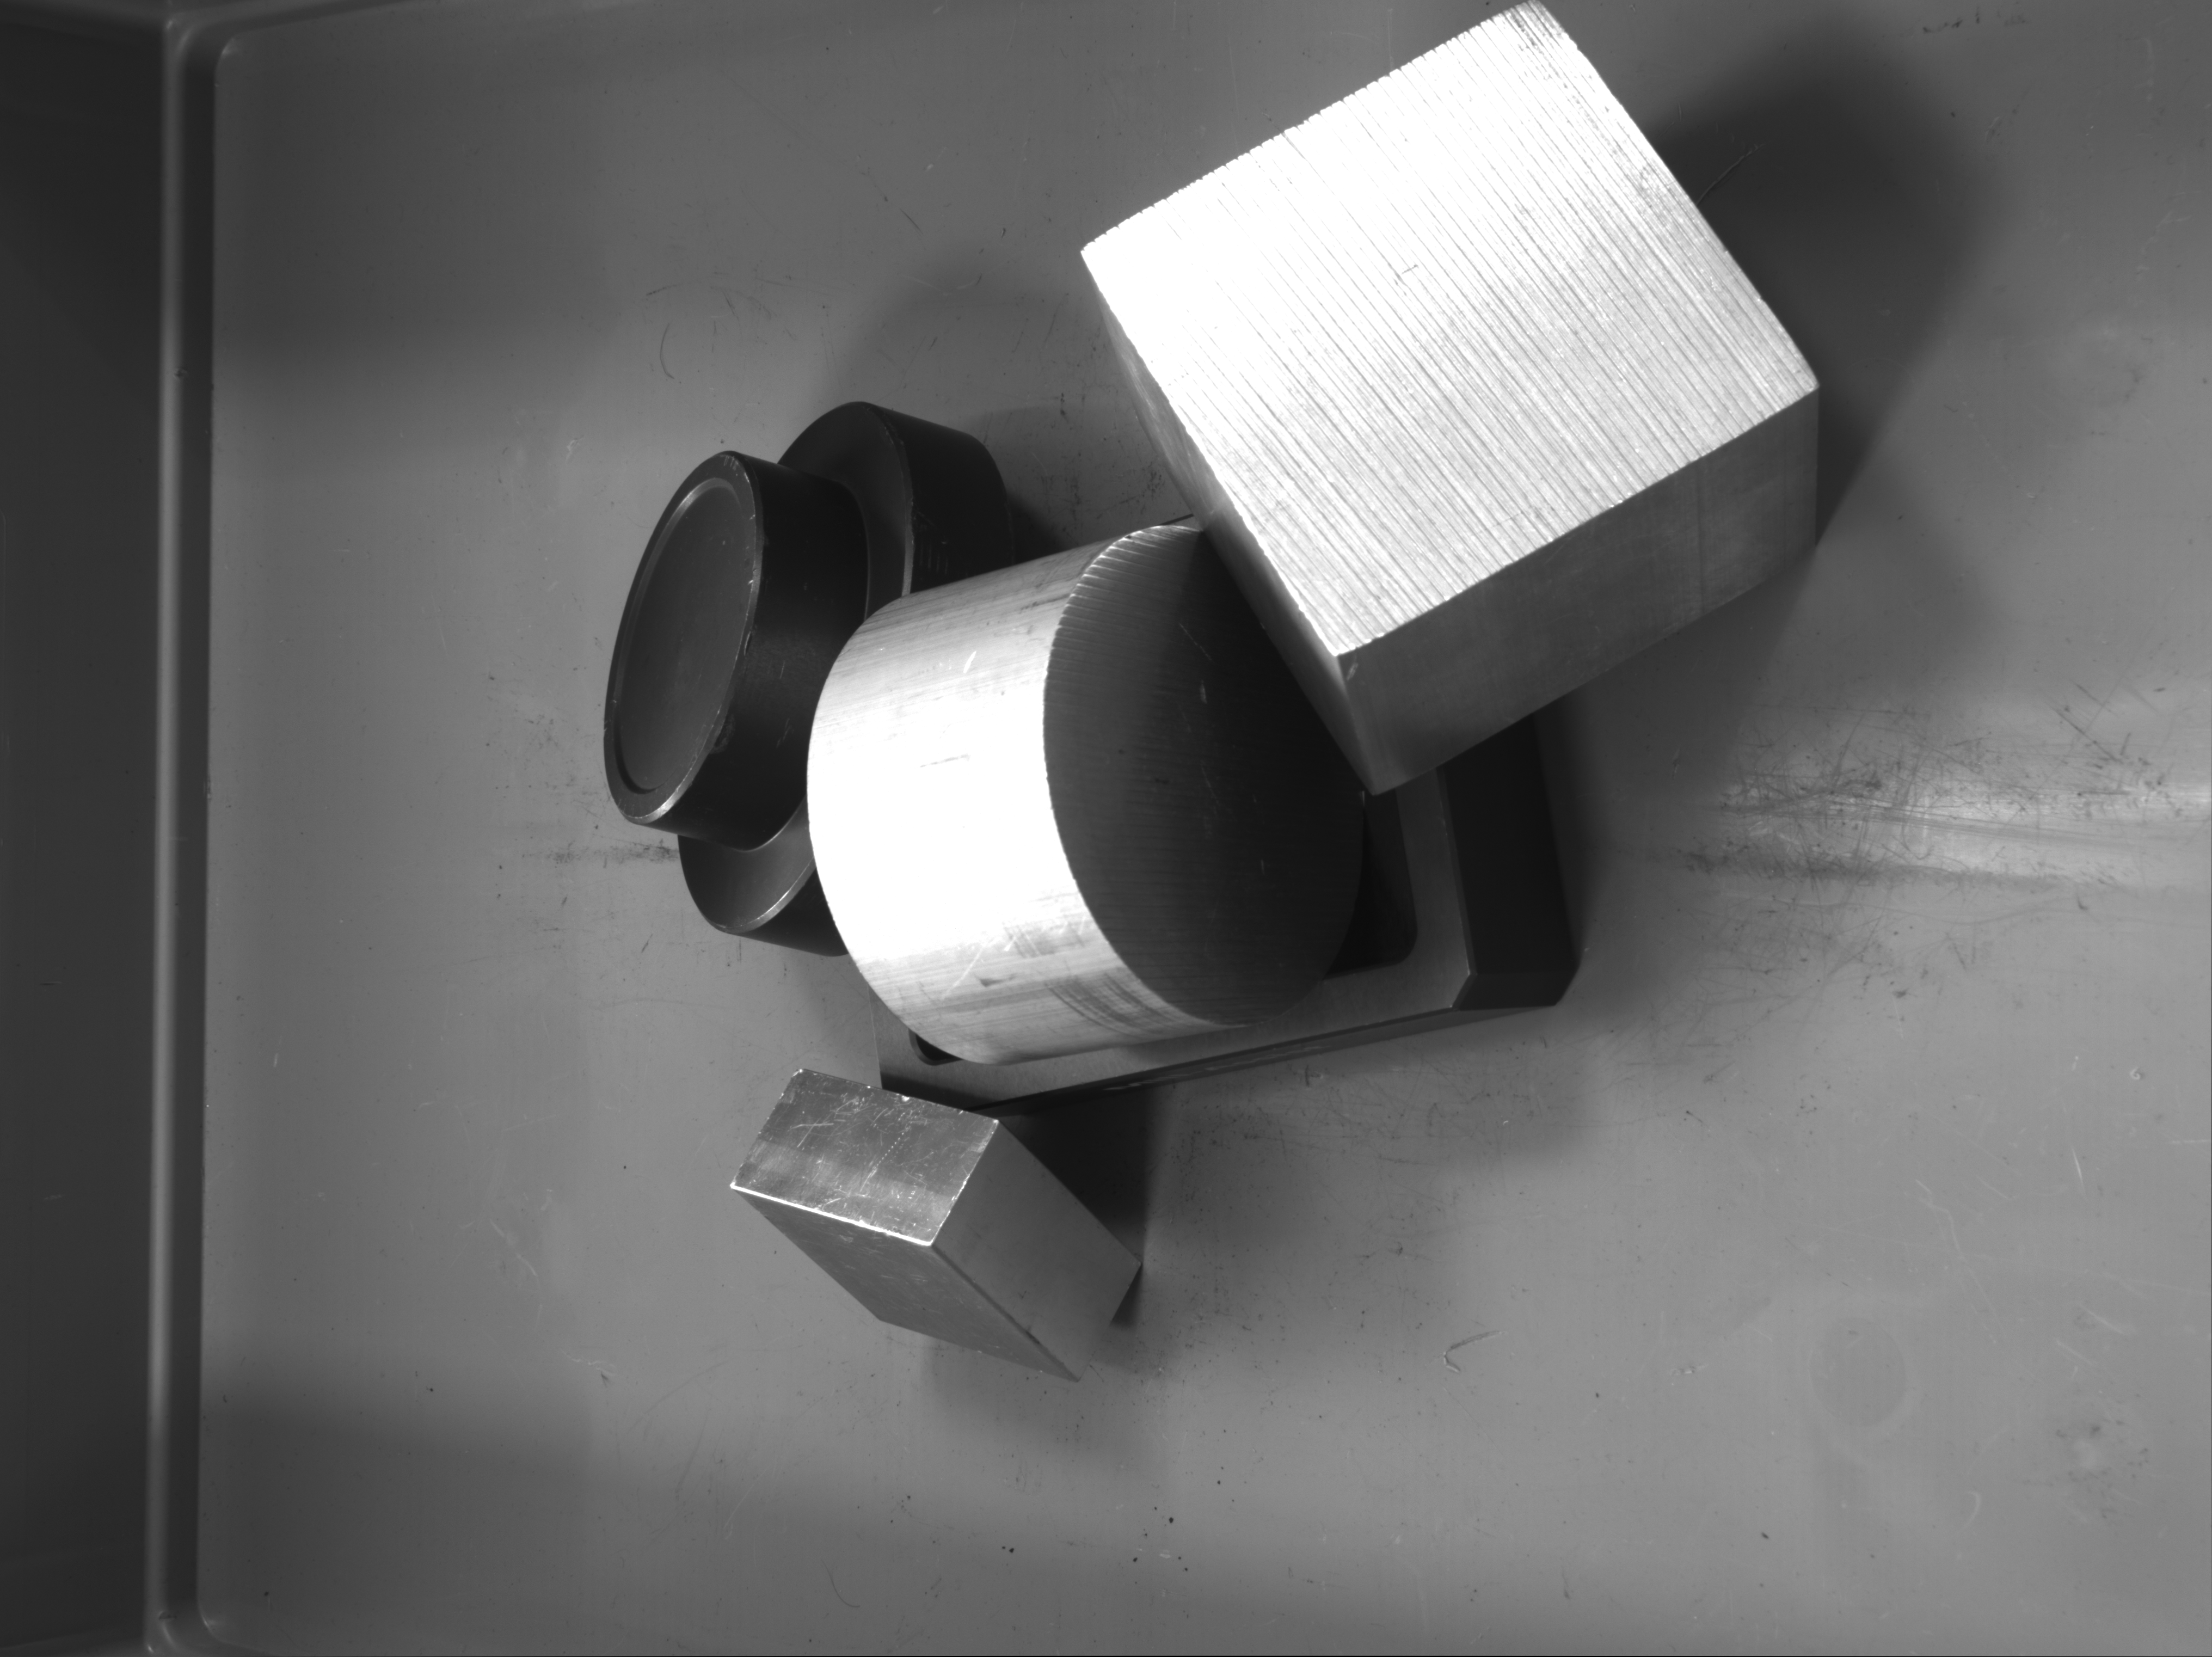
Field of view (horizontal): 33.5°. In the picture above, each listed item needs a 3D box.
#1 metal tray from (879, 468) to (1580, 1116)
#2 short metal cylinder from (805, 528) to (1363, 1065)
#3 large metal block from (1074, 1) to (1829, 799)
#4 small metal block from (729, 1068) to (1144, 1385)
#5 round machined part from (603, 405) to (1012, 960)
[{"bbox_3d":[0.013,-0.003,0.631,0.130,0.030,0.090,-15,80,39],"label":"metal tray"},{"bbox_3d":[-0.002,-0.004,0.594,0.050,0.080,0.080,-12,82,39],"label":"short metal cylinder"},{"bbox_3d":[0.053,-0.065,0.557,0.080,0.050,0.080,-30,67,-3],"label":"large metal block"},{"bbox_3d":[-0.030,0.070,0.649,0.050,0.050,0.025,10,62,41],"label":"small metal block"},{"bbox_3d":[-0.058,-0.029,0.657,0.098,0.042,0.098,-41,41,50],"label":"round machined part"}]
